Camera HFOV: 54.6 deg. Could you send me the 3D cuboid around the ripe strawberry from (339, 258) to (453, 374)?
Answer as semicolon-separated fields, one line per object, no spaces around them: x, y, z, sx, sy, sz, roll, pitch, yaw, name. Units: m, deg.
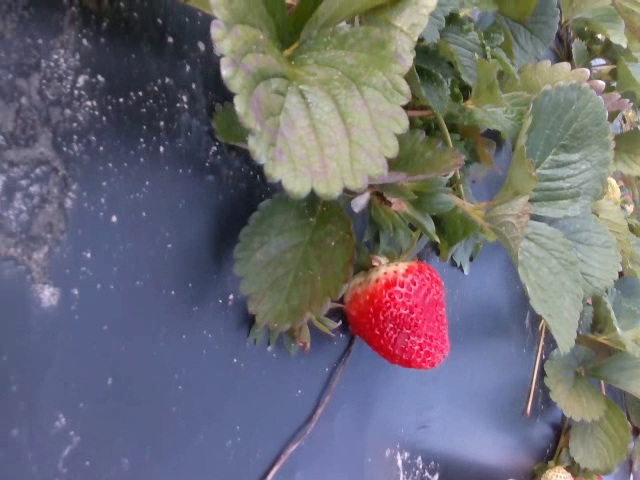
0.036;0.036;0.272;0.049;0.053;0.050;-38;-36;20;ripe strawberry
